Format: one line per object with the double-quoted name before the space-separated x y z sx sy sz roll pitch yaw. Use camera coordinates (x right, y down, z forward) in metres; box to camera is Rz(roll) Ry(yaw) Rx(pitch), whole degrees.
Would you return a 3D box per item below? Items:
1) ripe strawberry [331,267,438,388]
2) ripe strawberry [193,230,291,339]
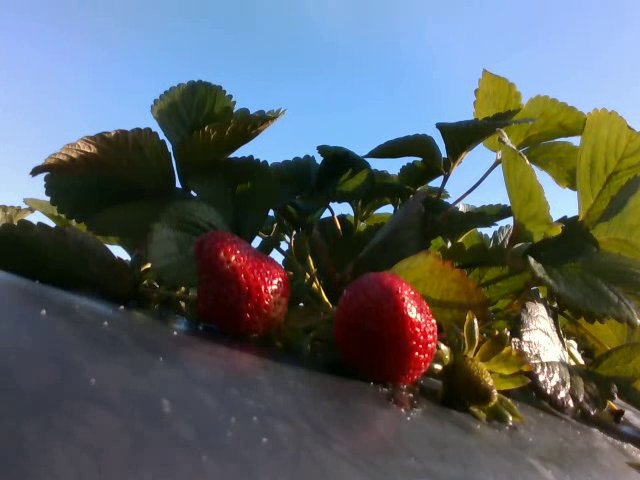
"ripe strawberry" 0.025 0.025 0.208 0.043 0.038 0.053 34 -22 9
"ripe strawberry" -0.033 0.018 0.247 0.039 0.054 0.048 -36 23 9
